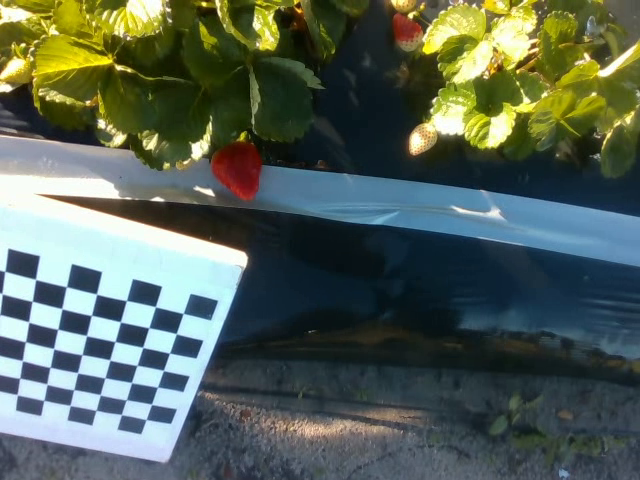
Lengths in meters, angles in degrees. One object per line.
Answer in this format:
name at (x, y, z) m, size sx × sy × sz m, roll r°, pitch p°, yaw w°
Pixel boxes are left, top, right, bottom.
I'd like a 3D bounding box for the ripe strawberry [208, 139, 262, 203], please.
ripe strawberry at (-0.068, -0.057, 0.497) m, size 0.045 × 0.064 × 0.048 m, roll -40°, pitch -35°, yaw 24°
